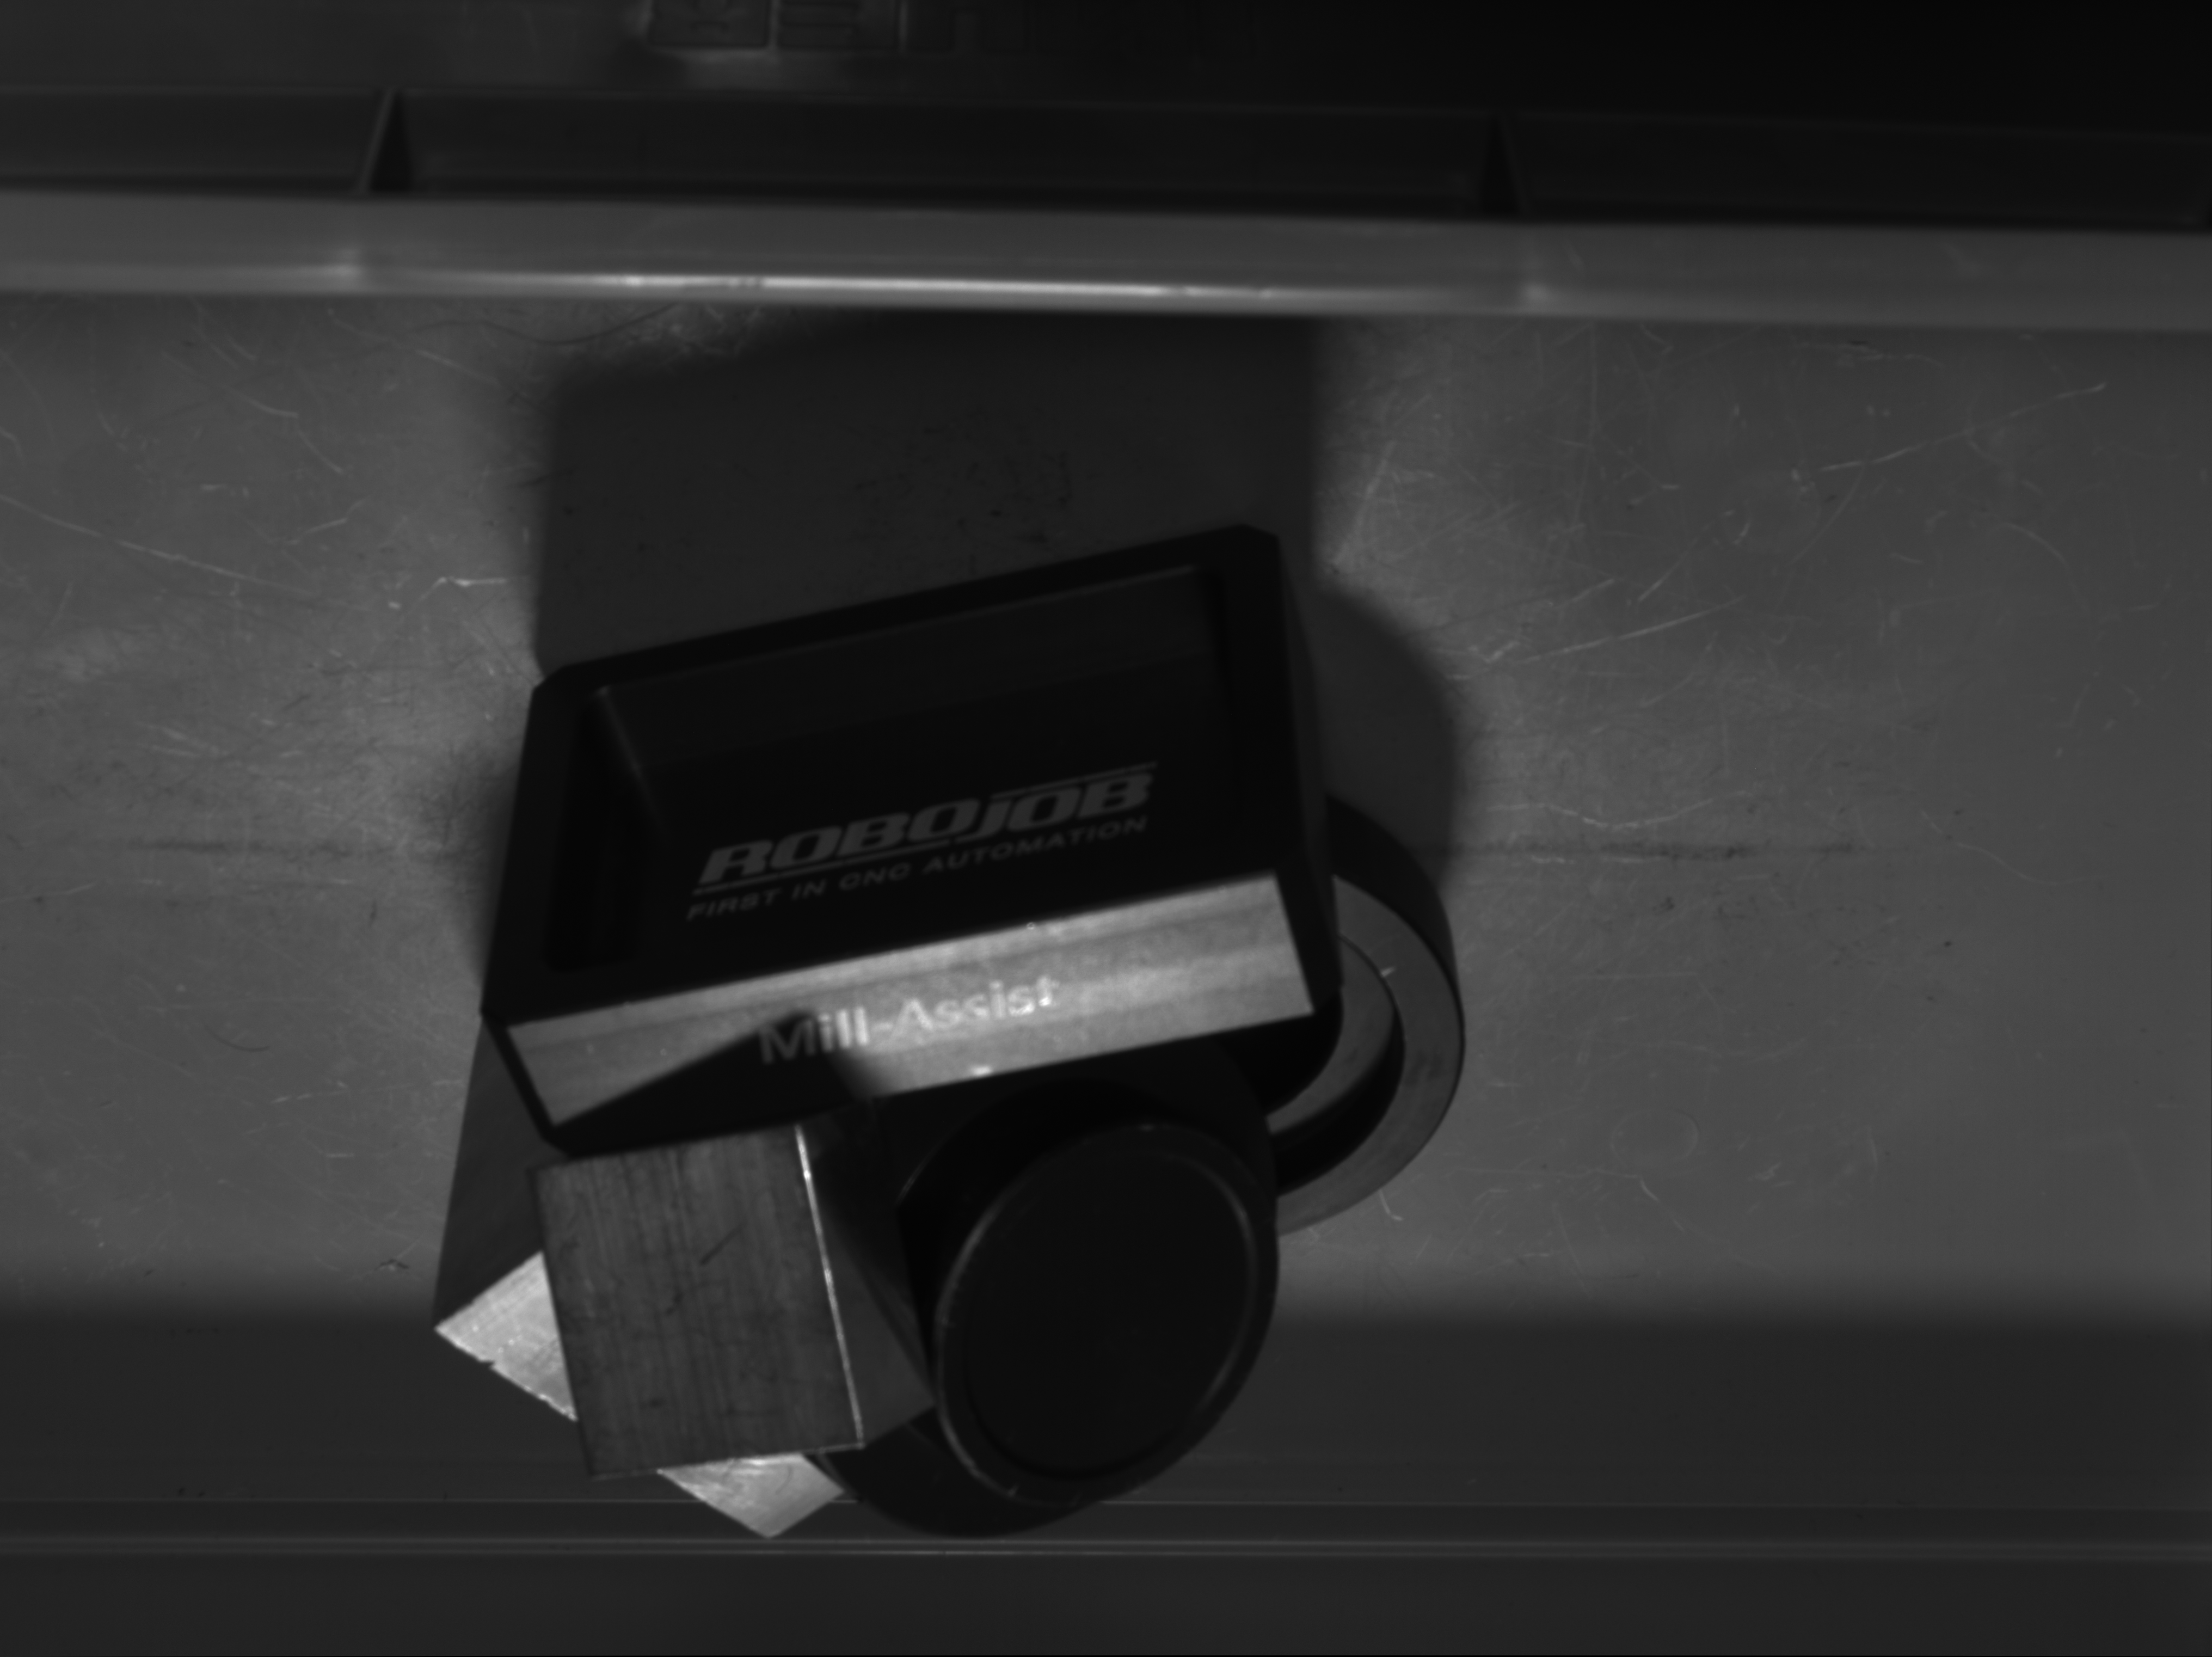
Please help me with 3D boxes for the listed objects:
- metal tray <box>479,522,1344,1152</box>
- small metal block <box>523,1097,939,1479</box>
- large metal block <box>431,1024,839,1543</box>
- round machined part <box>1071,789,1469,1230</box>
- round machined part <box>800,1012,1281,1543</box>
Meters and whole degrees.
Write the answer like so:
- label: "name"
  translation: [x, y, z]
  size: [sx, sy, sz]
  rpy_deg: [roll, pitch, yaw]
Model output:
- label: "metal tray"
  translation: [-0.031, 0.000, 0.593]
  size: [0.130, 0.090, 0.030]
  rpy_deg: [-12, 130, 8]
- label: "small metal block"
  translation: [-0.059, 0.072, 0.575]
  size: [0.050, 0.025, 0.050]
  rpy_deg: [-11, 92, 24]
- label: "large metal block"
  translation: [-0.069, 0.067, 0.655]
  size: [0.050, 0.080, 0.080]
  rpy_deg: [-36, 122, 25]
- label: "round machined part"
  translation: [0.013, 0.026, 0.649]
  size: [0.098, 0.042, 0.098]
  rpy_deg: [-1, 130, -1]
- label: "round machined part"
  translation: [-0.010, 0.074, 0.612]
  size: [0.098, 0.042, 0.098]
  rpy_deg: [-13, 113, -32]
